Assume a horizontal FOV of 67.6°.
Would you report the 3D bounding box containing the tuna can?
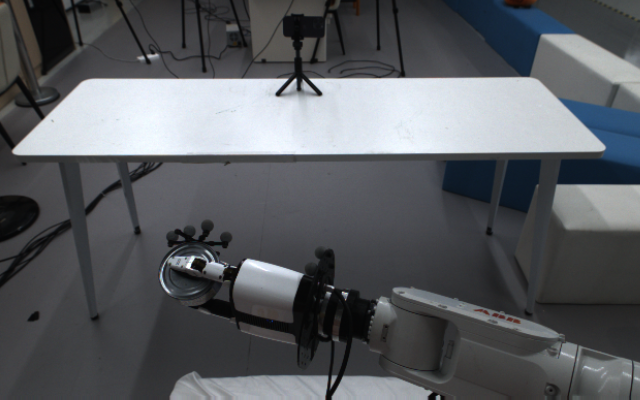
[{"bbox_3d":[-0.173,0.105,0.676,0.085,0.034,0.085,-1,57,2],"label":"tuna can"}]
